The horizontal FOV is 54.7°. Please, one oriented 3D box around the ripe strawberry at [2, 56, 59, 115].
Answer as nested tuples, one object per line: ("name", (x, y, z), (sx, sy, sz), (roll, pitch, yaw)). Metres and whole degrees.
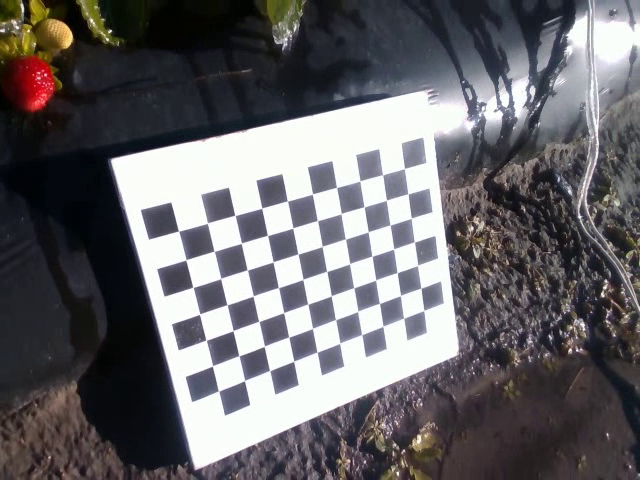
("ripe strawberry", (-0.158, -0.082, 0.339), (0.039, 0.040, 0.039), (-23, 45, -9))
